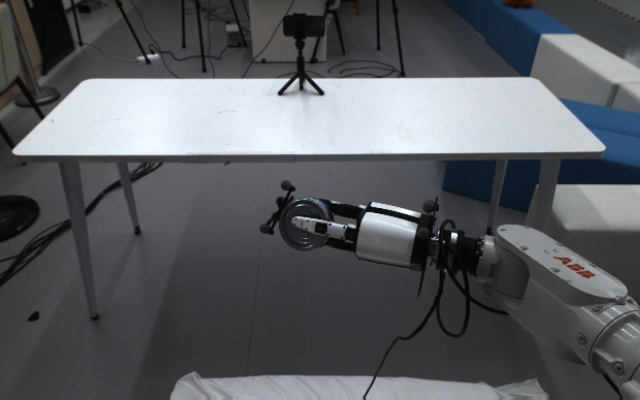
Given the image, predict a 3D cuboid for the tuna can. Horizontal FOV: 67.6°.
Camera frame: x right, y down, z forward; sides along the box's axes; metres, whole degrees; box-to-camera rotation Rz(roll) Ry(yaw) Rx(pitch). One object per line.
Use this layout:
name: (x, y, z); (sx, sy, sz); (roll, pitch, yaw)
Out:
tuna can: (-0.020, 0.041, 0.773); (0.085, 0.085, 0.034); (10, 5, 11)
